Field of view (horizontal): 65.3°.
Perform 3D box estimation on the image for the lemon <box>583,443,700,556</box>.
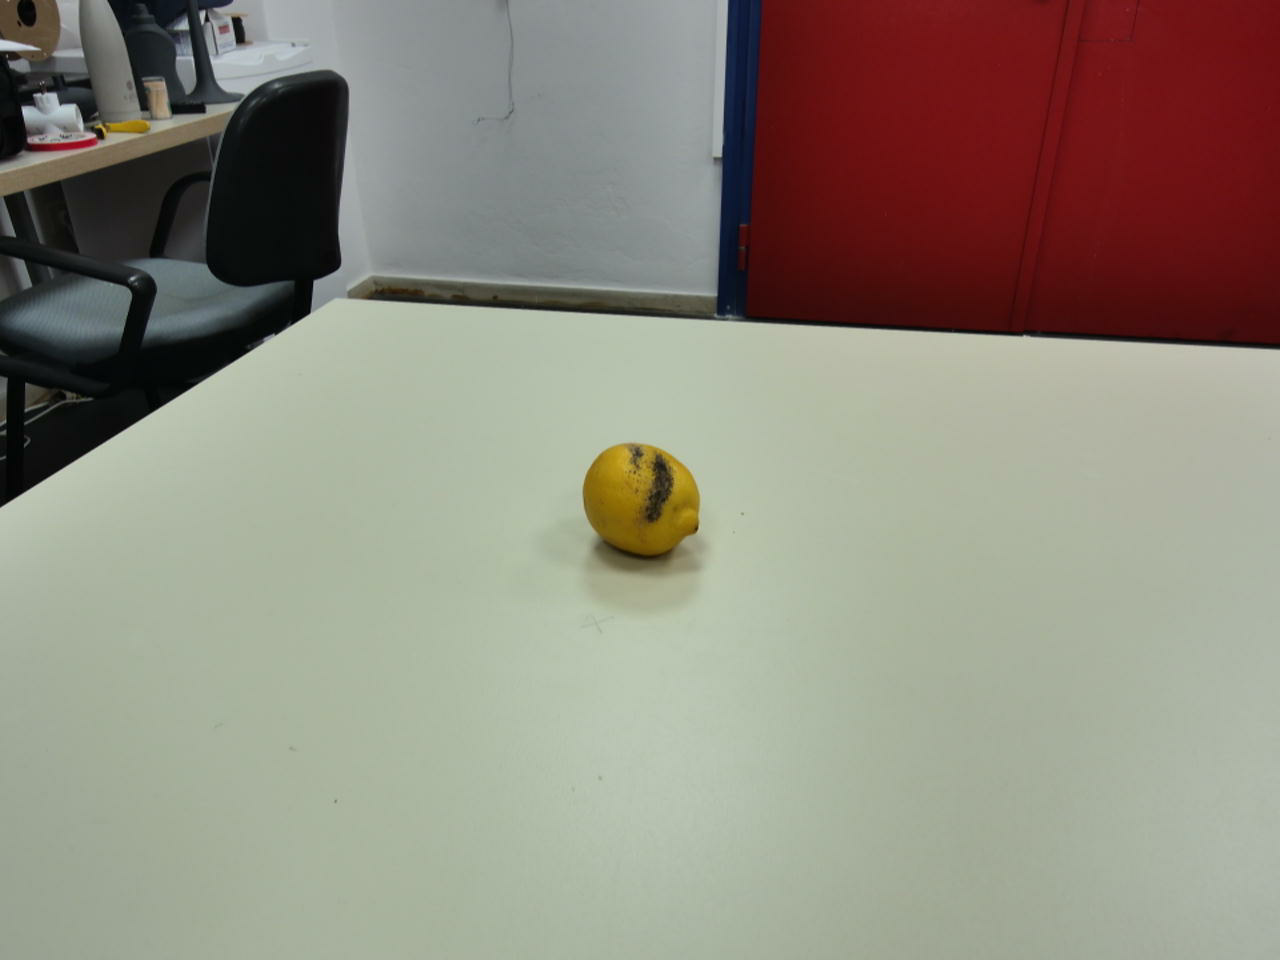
[{"bbox_3d":[0.001,0.010,0.521,0.061,0.056,0.058,0,26,4],"label":"lemon"}]
